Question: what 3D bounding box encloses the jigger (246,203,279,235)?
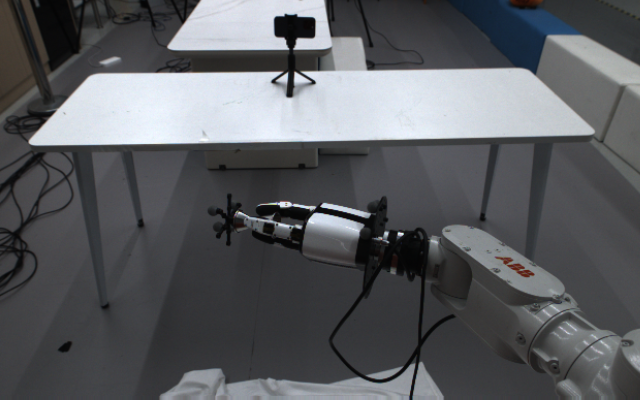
[{"bbox_3d":[-0.096,0.033,0.795,0.071,0.043,0.043,5,34,16],"label":"jigger"}]
